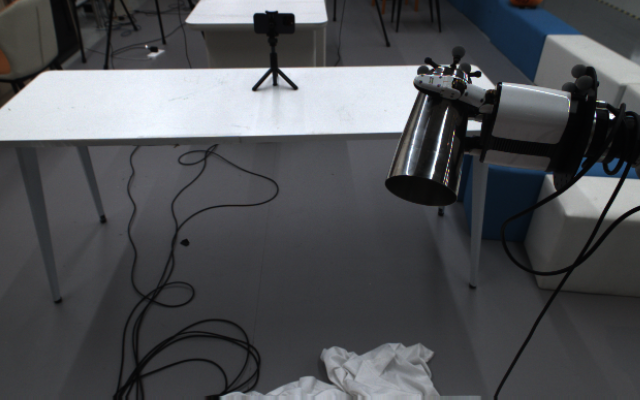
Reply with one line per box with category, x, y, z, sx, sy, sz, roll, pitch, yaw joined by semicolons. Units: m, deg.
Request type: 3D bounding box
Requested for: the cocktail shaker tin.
cocktail shaker tin;0.154;-0.090;0.644;0.093;0.093;0.170;12;72;15
